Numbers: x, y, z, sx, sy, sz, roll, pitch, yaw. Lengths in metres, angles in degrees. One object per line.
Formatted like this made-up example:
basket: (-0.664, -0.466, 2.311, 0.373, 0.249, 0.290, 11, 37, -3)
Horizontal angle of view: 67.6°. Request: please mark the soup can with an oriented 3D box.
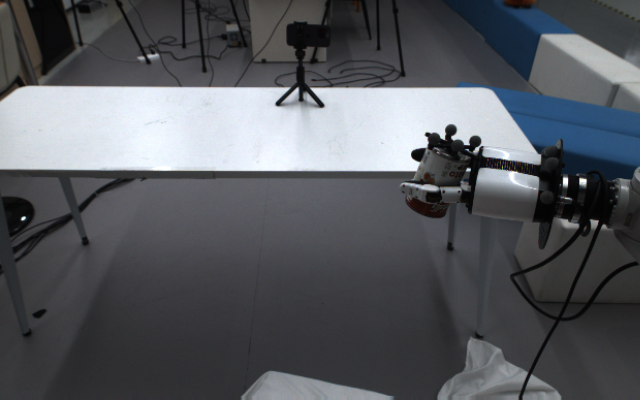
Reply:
soup can: (0.179, -0.034, 0.733, 0.067, 0.101, 0.067, 13, 30, -8)
